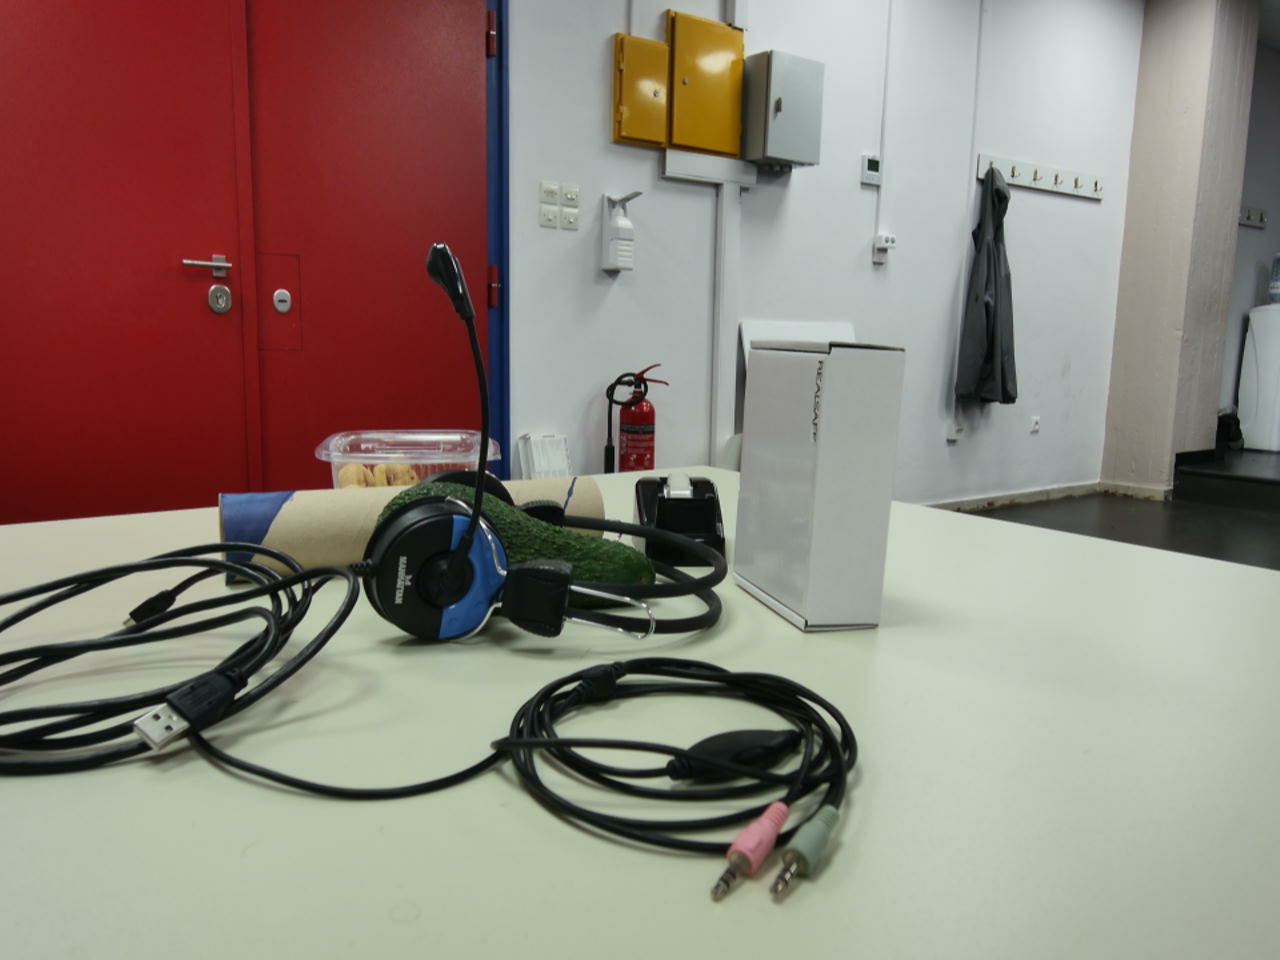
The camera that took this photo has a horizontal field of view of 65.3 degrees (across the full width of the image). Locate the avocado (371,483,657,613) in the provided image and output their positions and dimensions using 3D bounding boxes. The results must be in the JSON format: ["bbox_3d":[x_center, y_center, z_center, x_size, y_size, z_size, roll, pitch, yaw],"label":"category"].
[{"bbox_3d":[-0.064,0.033,0.510,0.141,0.067,0.063,-3,7,-22],"label":"avocado"}]
